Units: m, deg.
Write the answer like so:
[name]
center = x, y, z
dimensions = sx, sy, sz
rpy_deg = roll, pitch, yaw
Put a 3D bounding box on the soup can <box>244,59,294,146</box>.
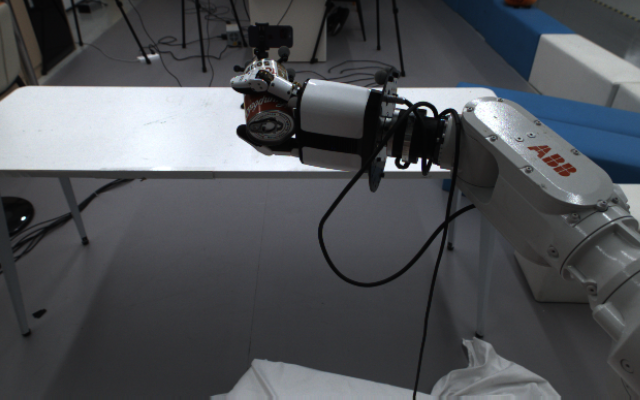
[soup can]
center = -0.070, -0.134, 0.664
dimensions = 0.067, 0.067, 0.101
rpy_deg = -5, 57, -10
